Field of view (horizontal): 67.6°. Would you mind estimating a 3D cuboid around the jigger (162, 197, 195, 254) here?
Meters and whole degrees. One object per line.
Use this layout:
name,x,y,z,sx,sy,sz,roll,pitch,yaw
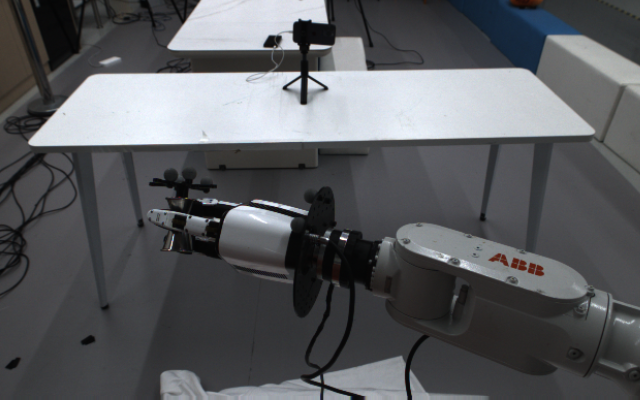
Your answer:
jigger,-0.179,0.033,0.622,0.043,0.071,0.043,2,-6,0
